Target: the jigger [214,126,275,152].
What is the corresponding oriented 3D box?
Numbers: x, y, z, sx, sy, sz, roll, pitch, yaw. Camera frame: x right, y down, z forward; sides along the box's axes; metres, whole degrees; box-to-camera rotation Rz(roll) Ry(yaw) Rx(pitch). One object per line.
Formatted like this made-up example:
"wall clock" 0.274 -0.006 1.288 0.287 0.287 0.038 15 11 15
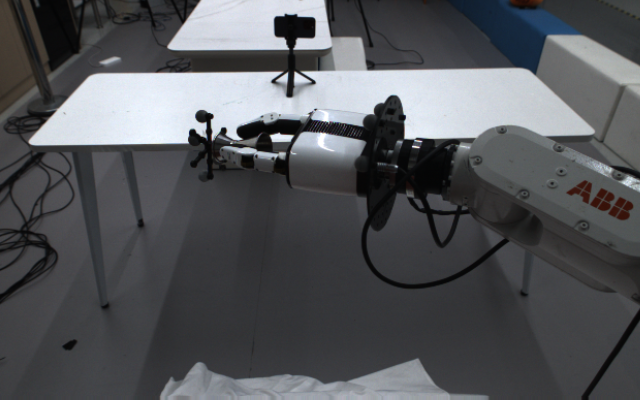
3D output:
"jigger" -0.100 -0.071 0.635 0.071 0.043 0.043 5 33 21
